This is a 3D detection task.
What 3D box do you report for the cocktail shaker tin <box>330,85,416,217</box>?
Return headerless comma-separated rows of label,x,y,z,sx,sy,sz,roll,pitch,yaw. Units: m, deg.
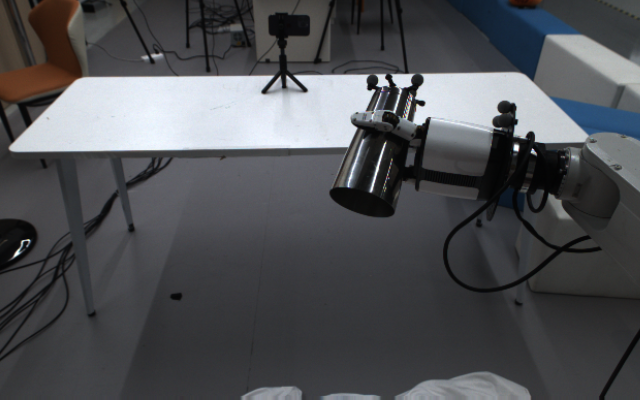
cocktail shaker tin,0.082,-0.072,0.679,0.093,0.093,0.170,13,70,16
